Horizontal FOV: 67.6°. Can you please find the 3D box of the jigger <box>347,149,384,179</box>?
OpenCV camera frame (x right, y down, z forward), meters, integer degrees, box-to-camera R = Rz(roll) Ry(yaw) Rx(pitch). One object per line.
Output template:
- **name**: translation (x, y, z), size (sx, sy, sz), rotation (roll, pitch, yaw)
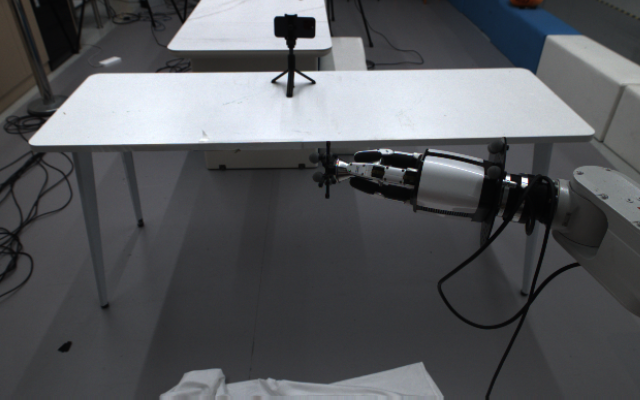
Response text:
- **jigger**: translation (0.068, -0.049, 0.737), size (0.071, 0.043, 0.043), rotation (2, 34, 17)
